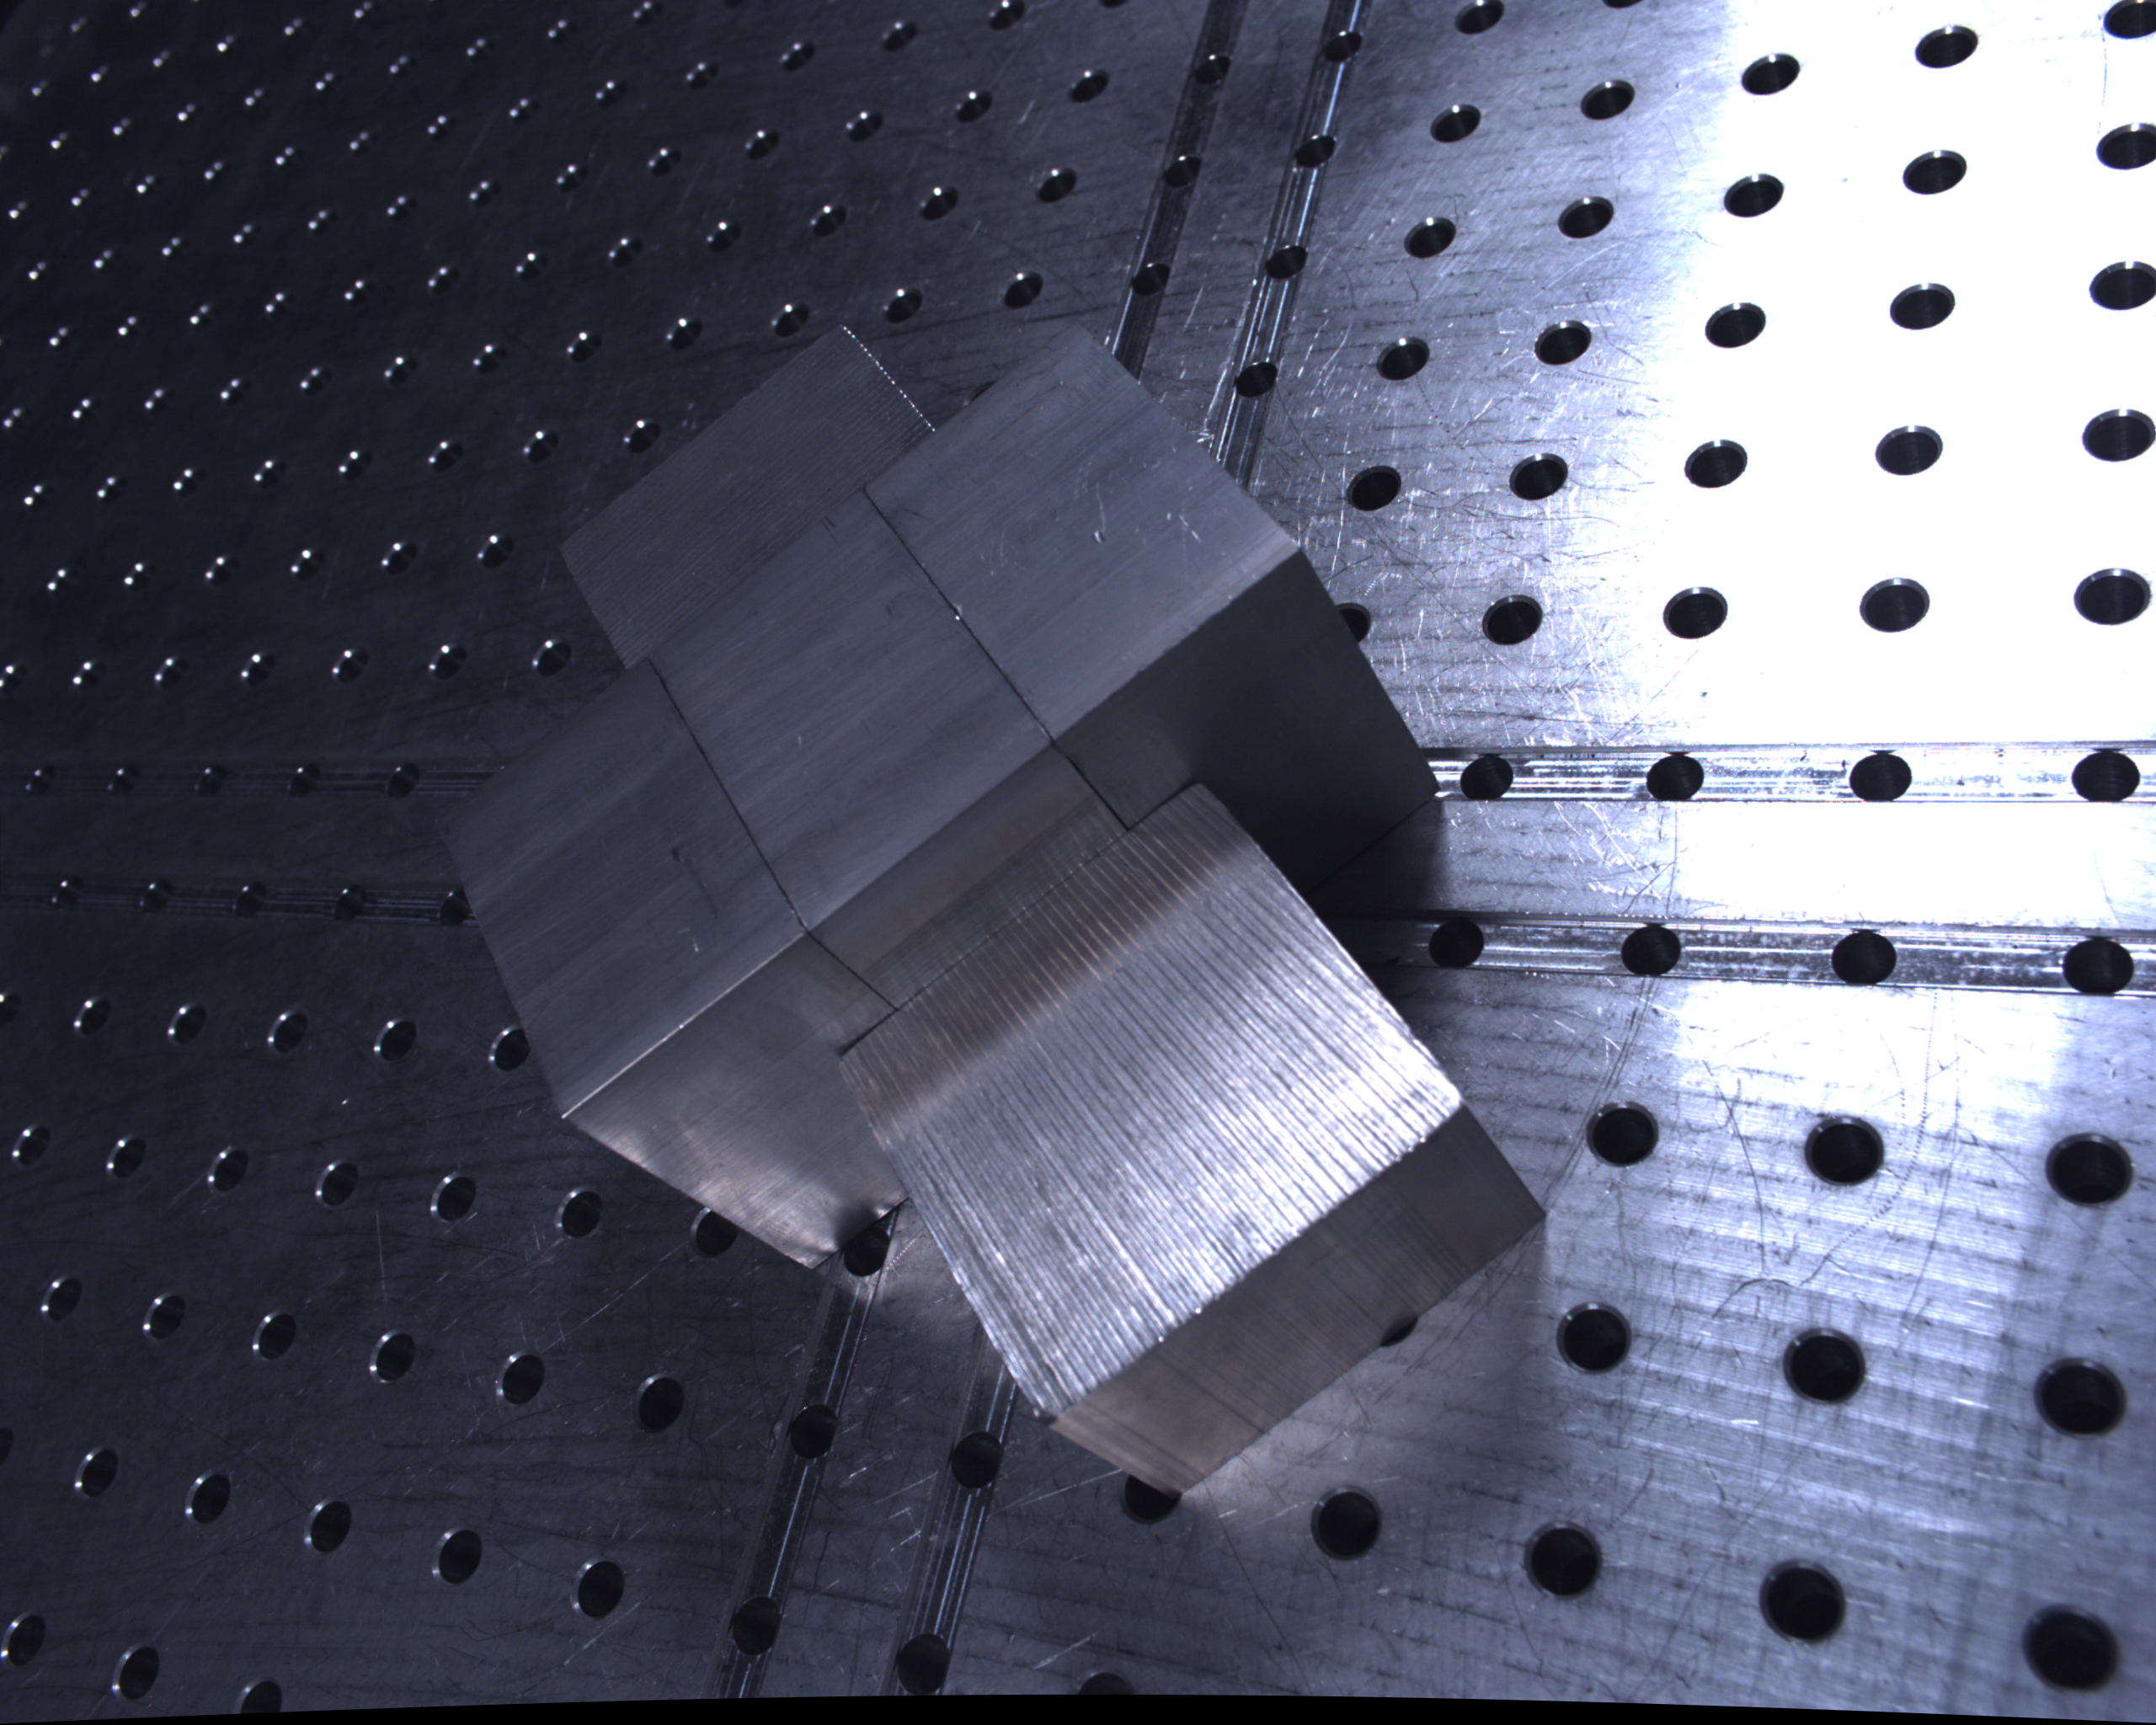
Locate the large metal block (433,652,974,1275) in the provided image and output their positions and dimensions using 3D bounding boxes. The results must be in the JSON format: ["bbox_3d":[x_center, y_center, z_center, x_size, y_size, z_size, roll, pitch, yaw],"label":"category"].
[{"bbox_3d":[-0.065,0.020,0.394,0.050,0.080,0.080,-38,51,3],"label":"large metal block"}]

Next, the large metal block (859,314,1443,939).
[{"bbox_3d":[0.014,-0.042,0.390,0.050,0.080,0.080,-38,51,3],"label":"large metal block"}]

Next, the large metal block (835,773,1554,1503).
[{"bbox_3d":[0.018,0.046,0.353,0.080,0.050,0.080,-38,51,3],"label":"large metal block"}]

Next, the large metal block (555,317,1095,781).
[{"bbox_3d":[-0.054,-0.058,0.451,0.080,0.050,0.080,-39,51,2],"label":"large metal block"}]

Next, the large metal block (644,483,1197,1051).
[{"bbox_3d":[-0.026,-0.011,0.392,0.050,0.080,0.080,-38,51,3],"label":"large metal block"}]
